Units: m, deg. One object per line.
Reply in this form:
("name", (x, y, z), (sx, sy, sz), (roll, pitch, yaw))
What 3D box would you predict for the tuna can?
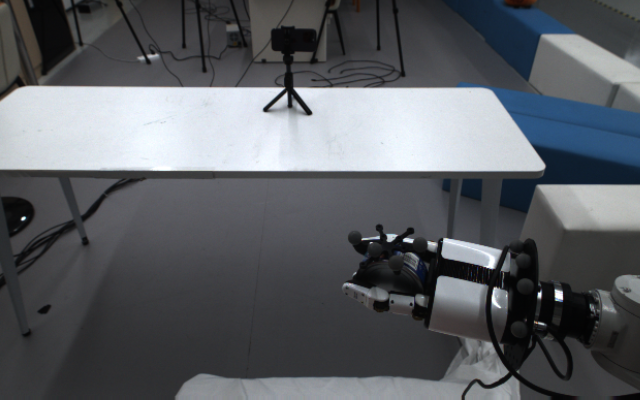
("tuna can", (0.093, 0.095, 0.606), (0.085, 0.085, 0.034), (14, 41, 17))
